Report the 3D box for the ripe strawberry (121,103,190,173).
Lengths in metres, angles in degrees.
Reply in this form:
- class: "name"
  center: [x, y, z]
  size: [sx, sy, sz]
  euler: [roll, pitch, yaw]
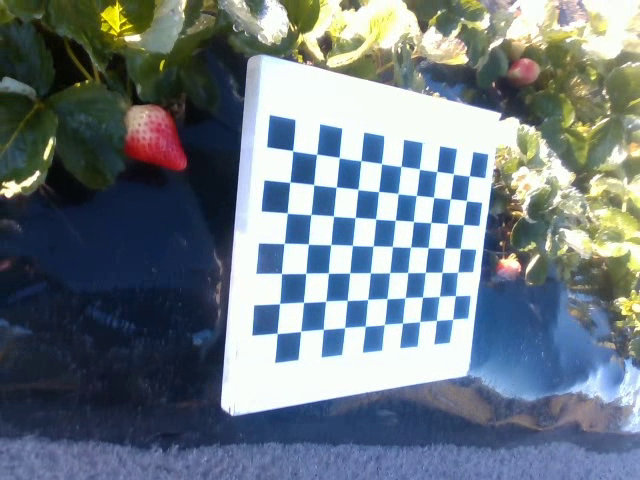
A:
- class: "ripe strawberry"
  center: [-0.123, -0.071, 0.462]
  size: [0.040, 0.040, 0.065]
  euler: [7, -37, 51]
